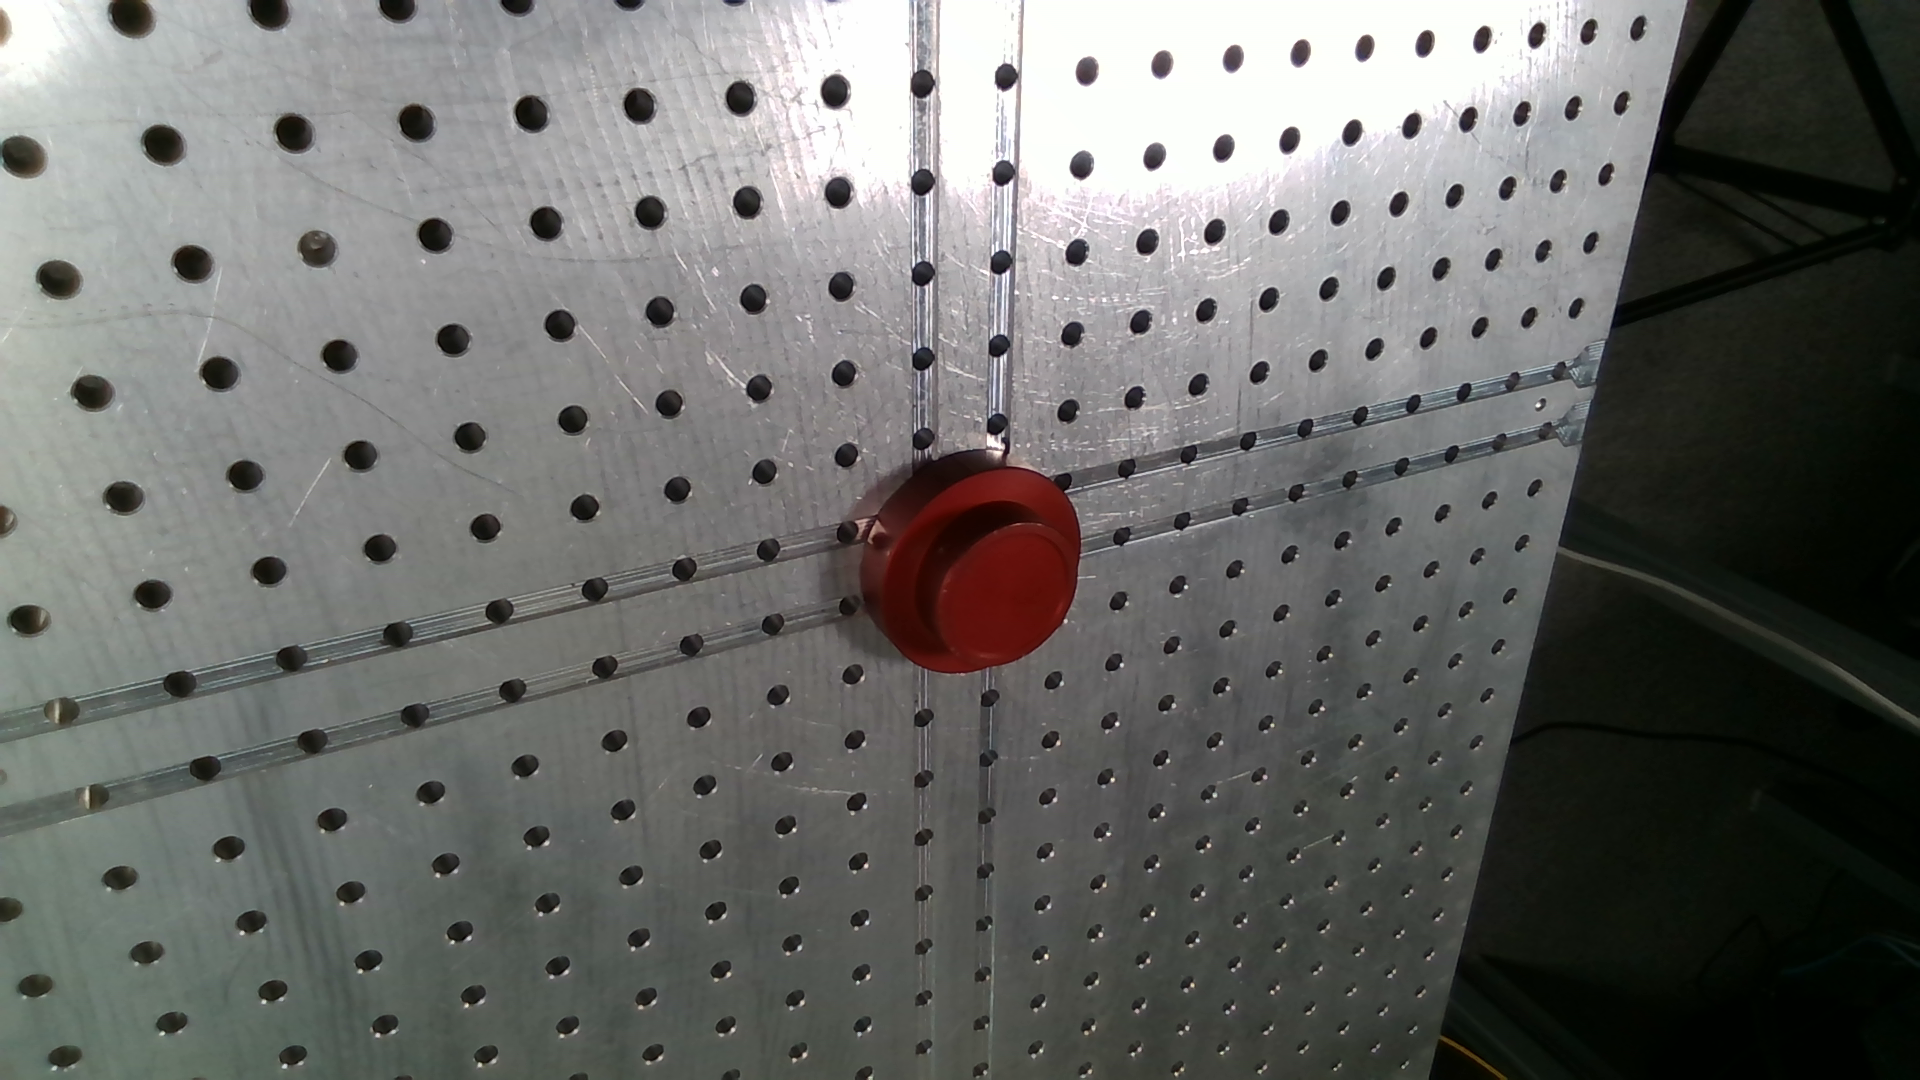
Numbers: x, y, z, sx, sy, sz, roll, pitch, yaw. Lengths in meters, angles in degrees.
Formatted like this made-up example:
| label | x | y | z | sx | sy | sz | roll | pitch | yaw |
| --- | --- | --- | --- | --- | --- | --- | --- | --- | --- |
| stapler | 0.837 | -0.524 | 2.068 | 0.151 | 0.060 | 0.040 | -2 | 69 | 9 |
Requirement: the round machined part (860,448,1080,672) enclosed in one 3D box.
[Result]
| label | x | y | z | sx | sy | sz | roll | pitch | yaw |
| --- | --- | --- | --- | --- | --- | --- | --- | --- | --- |
| round machined part | 0.010 | 0.014 | 0.586 | 0.098 | 0.042 | 0.098 | -14 | 122 | -25 |
